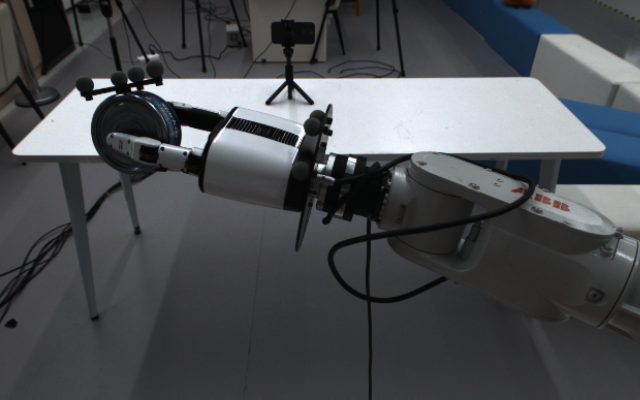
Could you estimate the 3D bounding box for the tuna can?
[{"bbox_3d":[-0.189,-0.065,0.507,0.085,0.085,0.034,6,18,5],"label":"tuna can"}]
